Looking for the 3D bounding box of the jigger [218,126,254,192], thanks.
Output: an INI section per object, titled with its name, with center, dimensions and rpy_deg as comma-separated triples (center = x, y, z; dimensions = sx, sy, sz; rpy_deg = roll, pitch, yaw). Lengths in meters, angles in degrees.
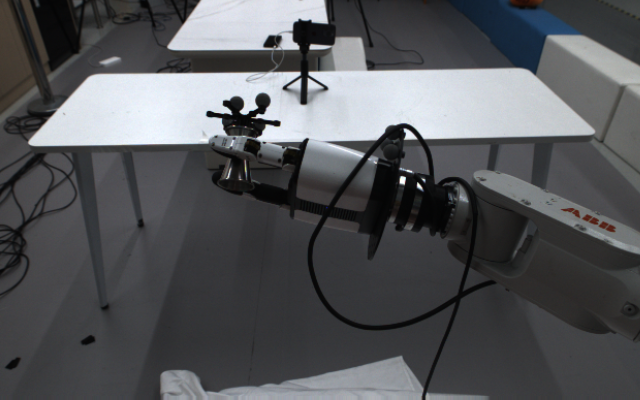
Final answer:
[jigger]
center = -0.097, -0.049, 0.576
dimensions = 0.043, 0.043, 0.071
rpy_deg = 3, 75, 2
